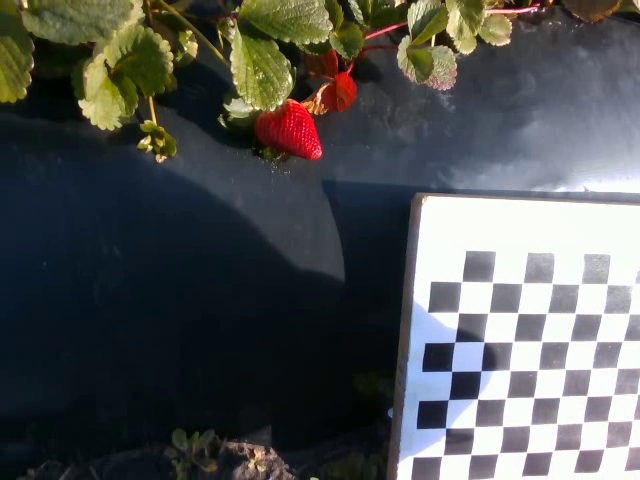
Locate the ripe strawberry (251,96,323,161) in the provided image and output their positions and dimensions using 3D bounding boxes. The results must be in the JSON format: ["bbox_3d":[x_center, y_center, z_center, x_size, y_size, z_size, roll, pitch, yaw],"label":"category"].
[{"bbox_3d":[-0.018,-0.070,0.354,0.056,0.041,0.040,46,5,26],"label":"ripe strawberry"}]
